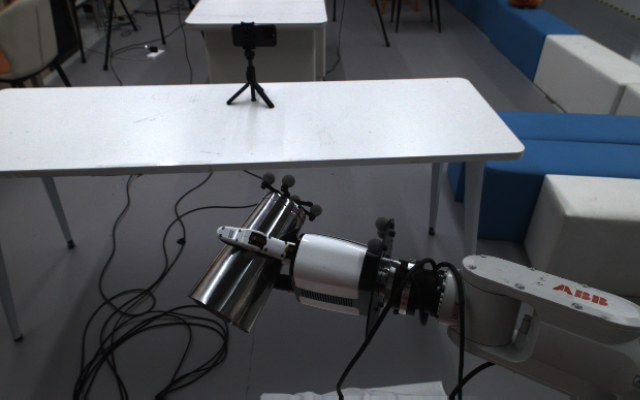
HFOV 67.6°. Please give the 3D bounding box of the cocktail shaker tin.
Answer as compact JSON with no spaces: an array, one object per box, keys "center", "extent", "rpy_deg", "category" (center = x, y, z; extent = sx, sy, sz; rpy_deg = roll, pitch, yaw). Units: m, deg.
[{"center":[-0.086,0.073,0.637],"extent":[0.093,0.093,0.170],"rpy_deg":[20,67,24],"category":"cocktail shaker tin"}]
